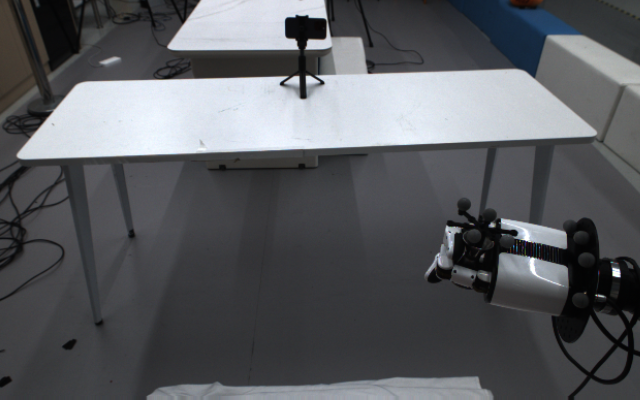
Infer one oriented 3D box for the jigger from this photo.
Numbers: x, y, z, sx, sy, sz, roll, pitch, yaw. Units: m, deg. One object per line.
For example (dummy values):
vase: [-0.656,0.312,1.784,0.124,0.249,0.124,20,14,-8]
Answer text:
jigger: [0.200,0.078,0.641,0.043,0.071,0.043,7,32,-4]
